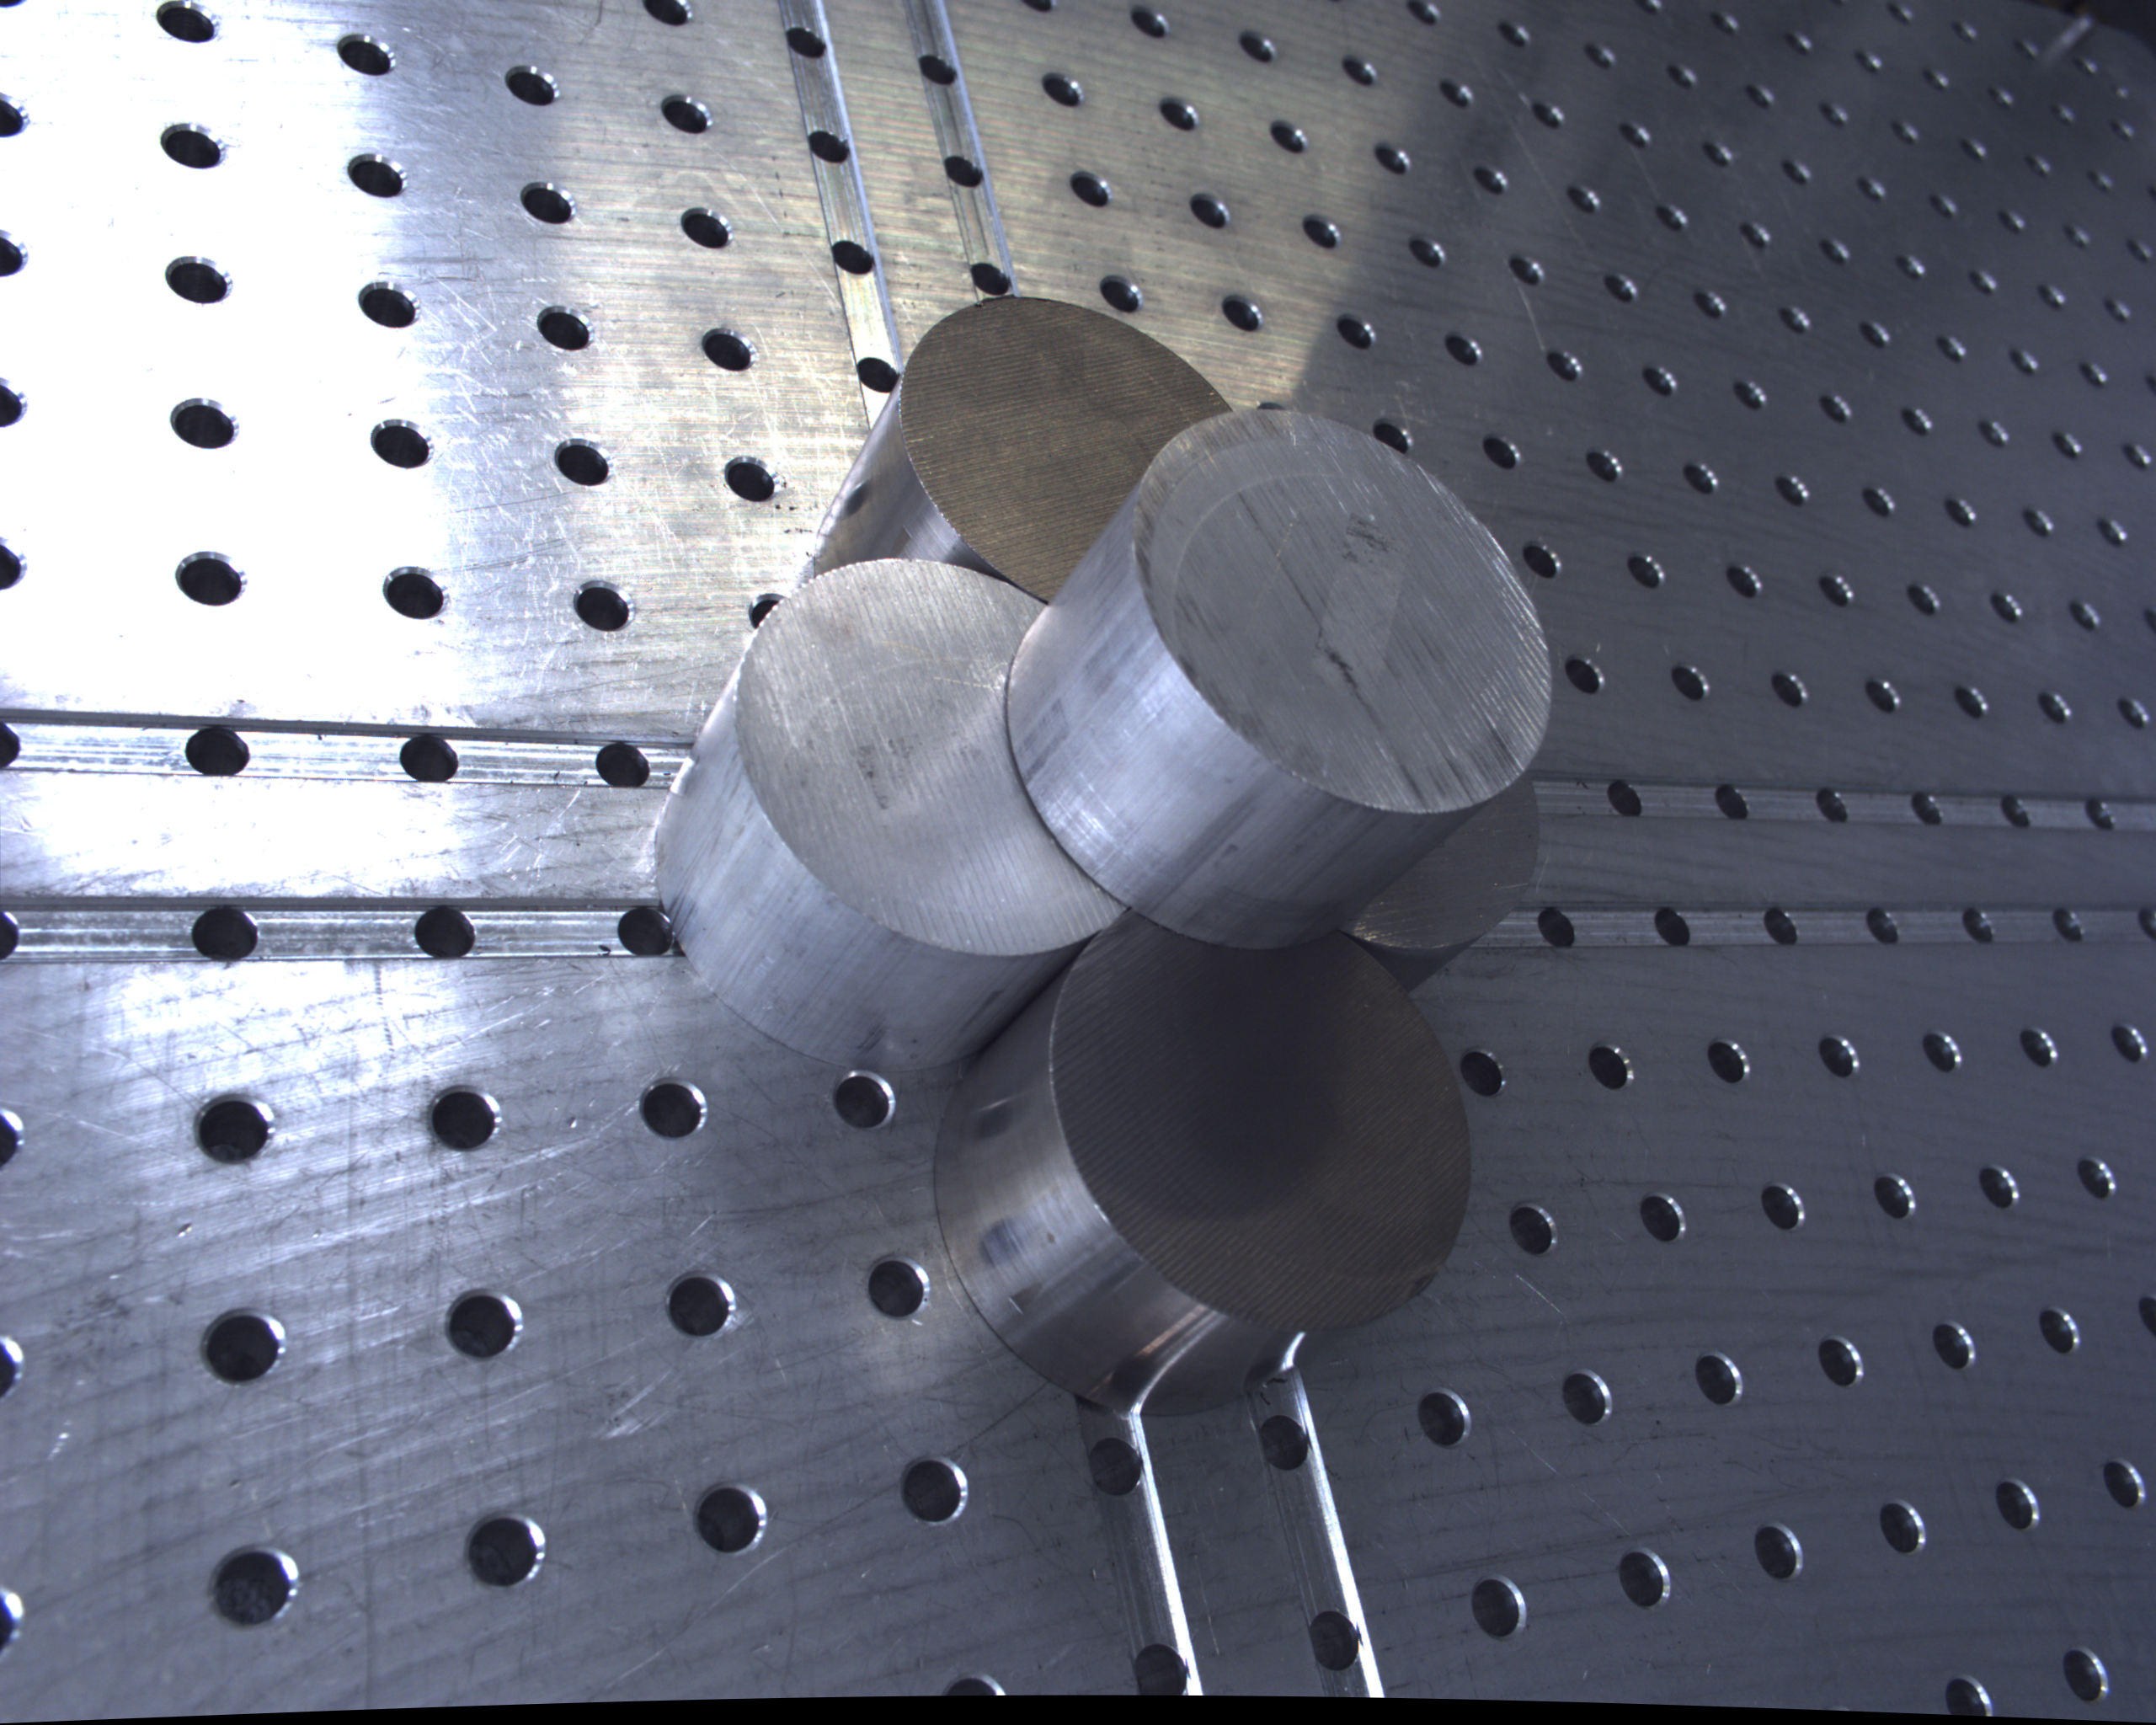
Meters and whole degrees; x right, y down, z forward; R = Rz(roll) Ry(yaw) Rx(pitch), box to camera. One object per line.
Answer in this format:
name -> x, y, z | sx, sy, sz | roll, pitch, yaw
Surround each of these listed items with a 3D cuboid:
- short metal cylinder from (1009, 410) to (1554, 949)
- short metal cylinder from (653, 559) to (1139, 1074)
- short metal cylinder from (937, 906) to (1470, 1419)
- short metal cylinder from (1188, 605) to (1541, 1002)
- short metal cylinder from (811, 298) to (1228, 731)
short metal cylinder -> 0.035, -0.031, 0.364 | 0.081, 0.050, 0.080 | 14, 56, -21
short metal cylinder -> -0.031, -0.008, 0.380 | 0.081, 0.050, 0.080 | 14, 56, -21
short metal cylinder -> 0.022, 0.052, 0.371 | 0.081, 0.050, 0.080 | 14, 54, -20
short metal cylinder -> 0.045, -0.008, 0.420 | 0.081, 0.050, 0.080 | 14, 56, -21
short metal cylinder -> -0.008, -0.068, 0.428 | 0.081, 0.050, 0.080 | 14, 56, -22
